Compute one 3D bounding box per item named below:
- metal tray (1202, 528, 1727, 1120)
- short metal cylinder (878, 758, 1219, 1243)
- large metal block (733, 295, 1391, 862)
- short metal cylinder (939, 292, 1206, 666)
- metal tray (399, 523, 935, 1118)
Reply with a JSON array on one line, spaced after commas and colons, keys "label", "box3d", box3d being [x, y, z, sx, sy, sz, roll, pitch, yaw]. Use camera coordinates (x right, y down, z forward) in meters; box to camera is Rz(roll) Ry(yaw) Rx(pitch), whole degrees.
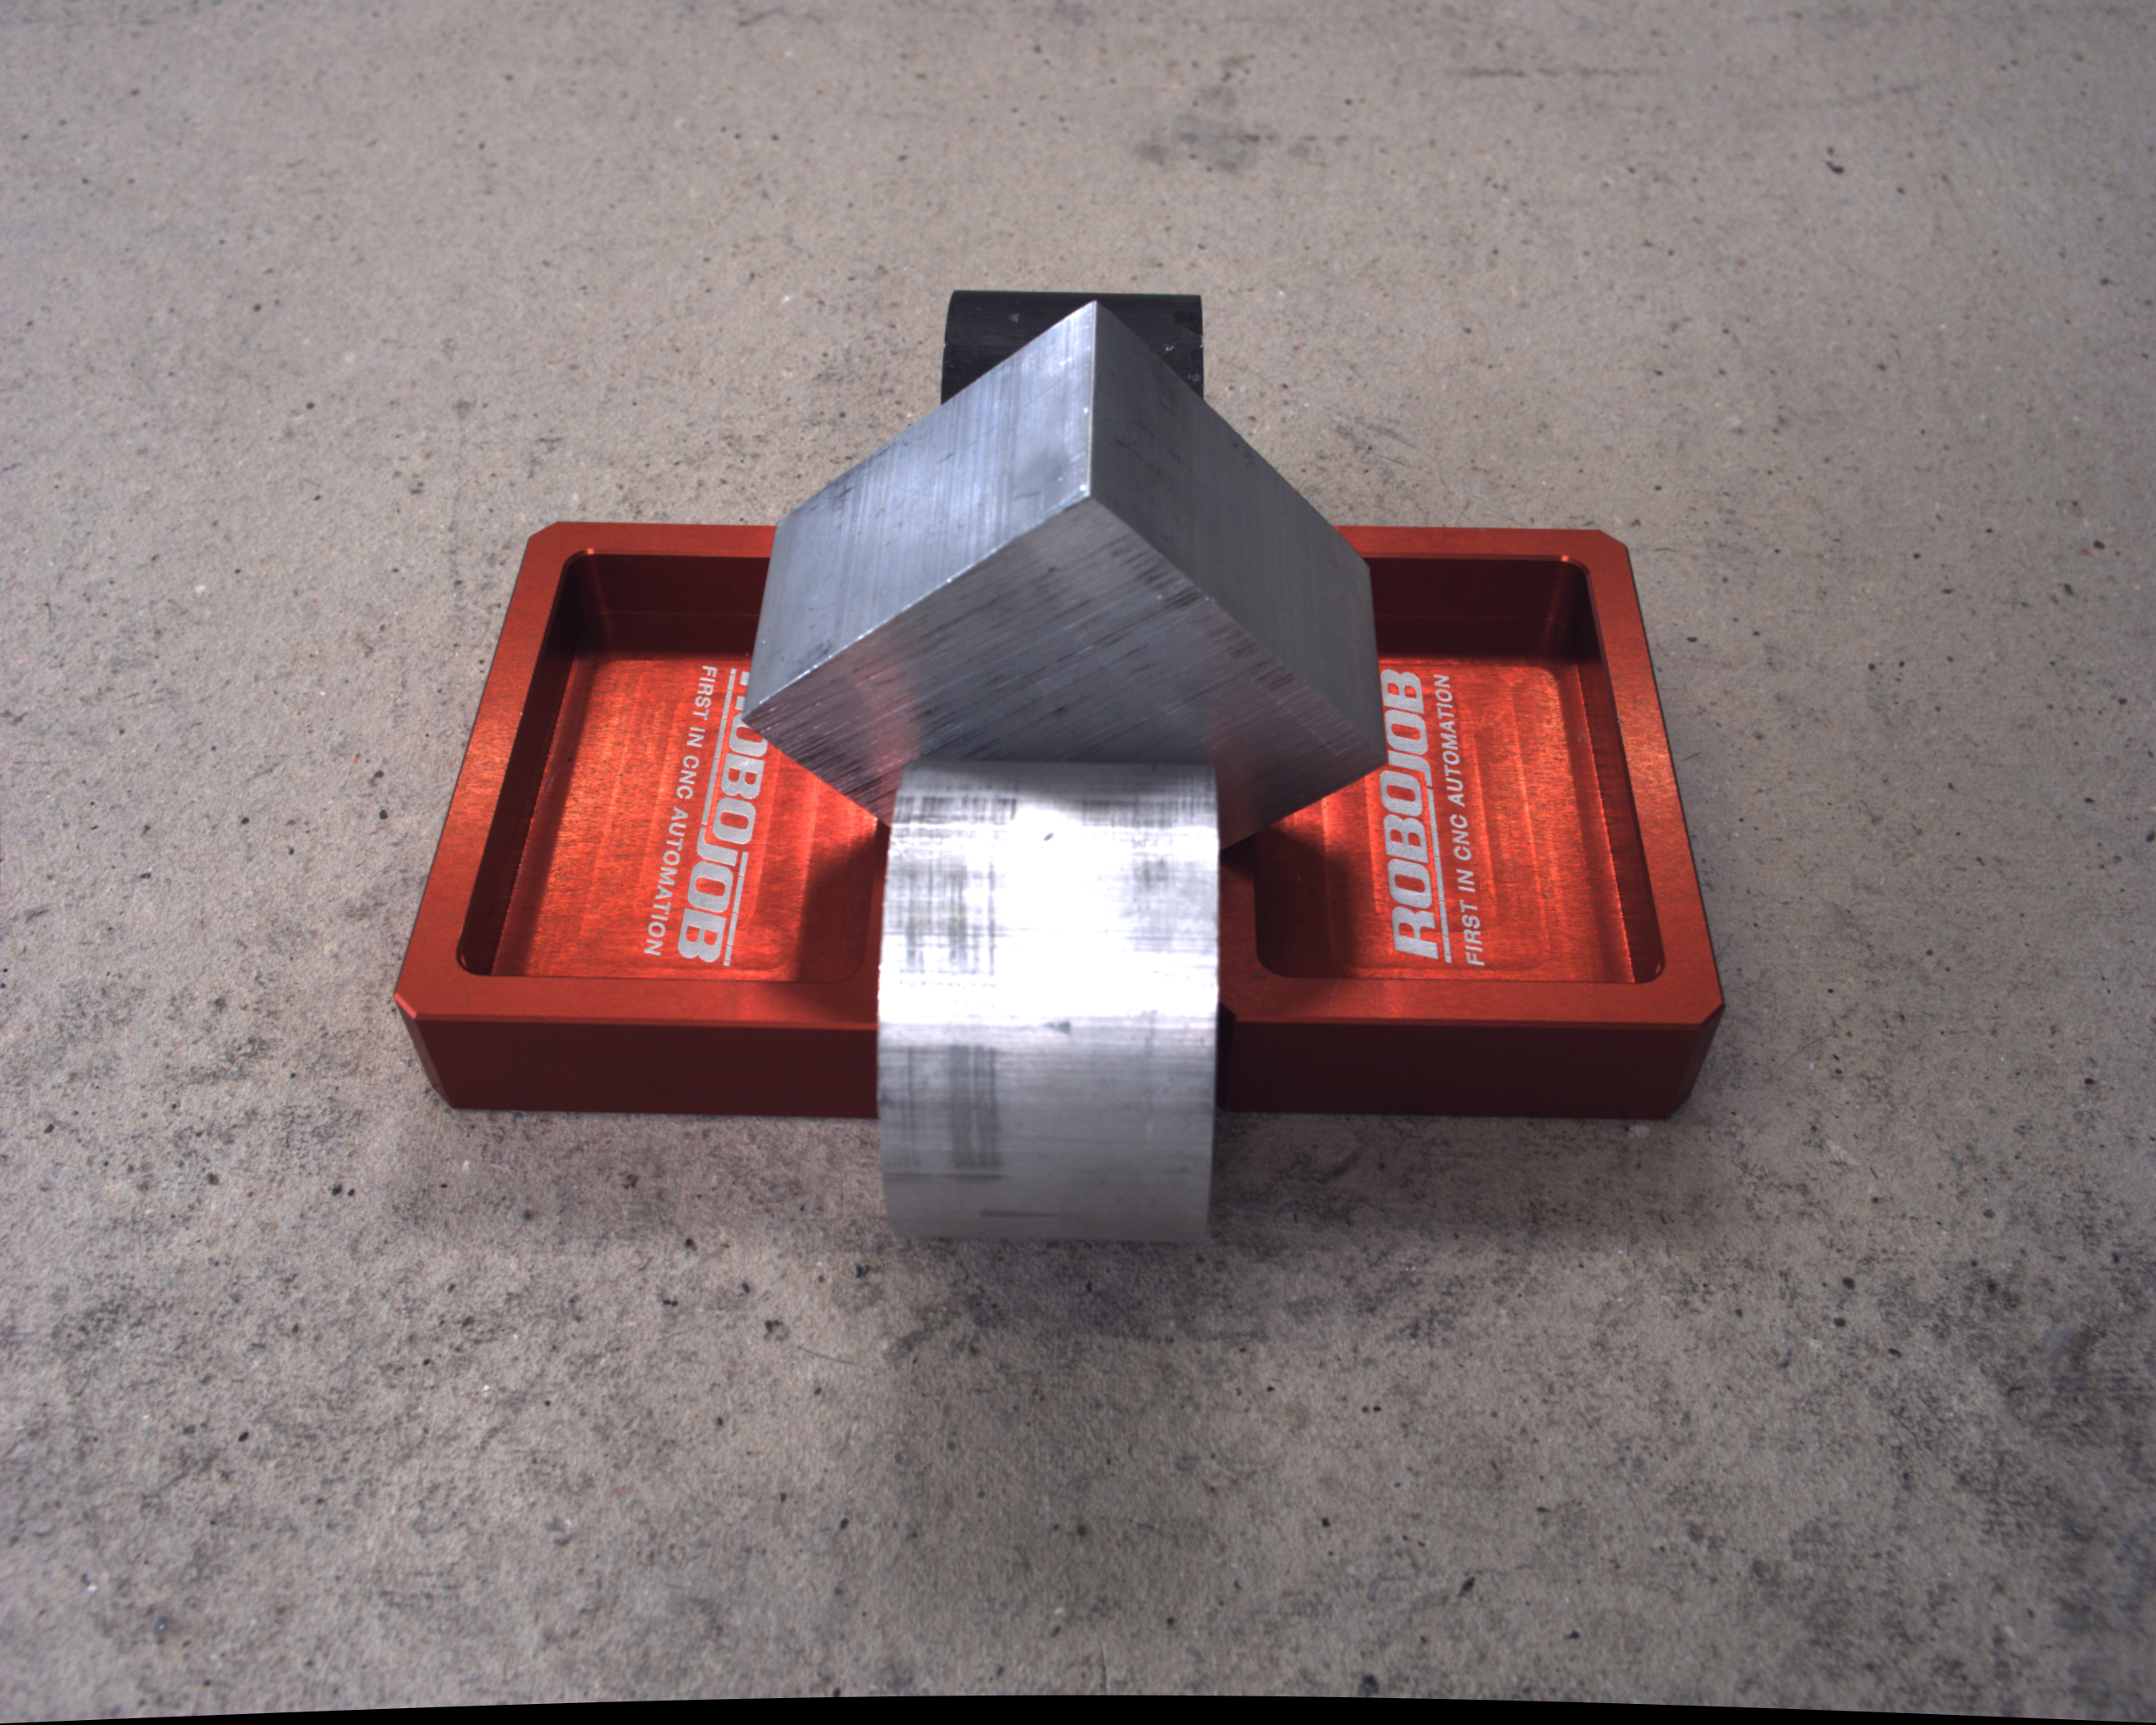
[{"label": "metal tray", "box3d": [0.069, -0.012, 0.413, 0.091, 0.030, 0.130, 1, 50, 1]}, {"label": "short metal cylinder", "box3d": [-0.004, 0.023, 0.350, 0.050, 0.080, 0.080, 2, 50, 1]}, {"label": "large metal block", "box3d": [-0.002, -0.040, 0.376, 0.080, 0.080, 0.050, -27, 43, 31]}, {"label": "short metal cylinder", "box3d": [0.000, -0.077, 0.434, 0.050, 0.080, 0.080, 2, 50, 1]}, {"label": "metal tray", "box3d": [-0.071, -0.013, 0.412, 0.091, 0.030, 0.130, 1, 50, 1]}]
